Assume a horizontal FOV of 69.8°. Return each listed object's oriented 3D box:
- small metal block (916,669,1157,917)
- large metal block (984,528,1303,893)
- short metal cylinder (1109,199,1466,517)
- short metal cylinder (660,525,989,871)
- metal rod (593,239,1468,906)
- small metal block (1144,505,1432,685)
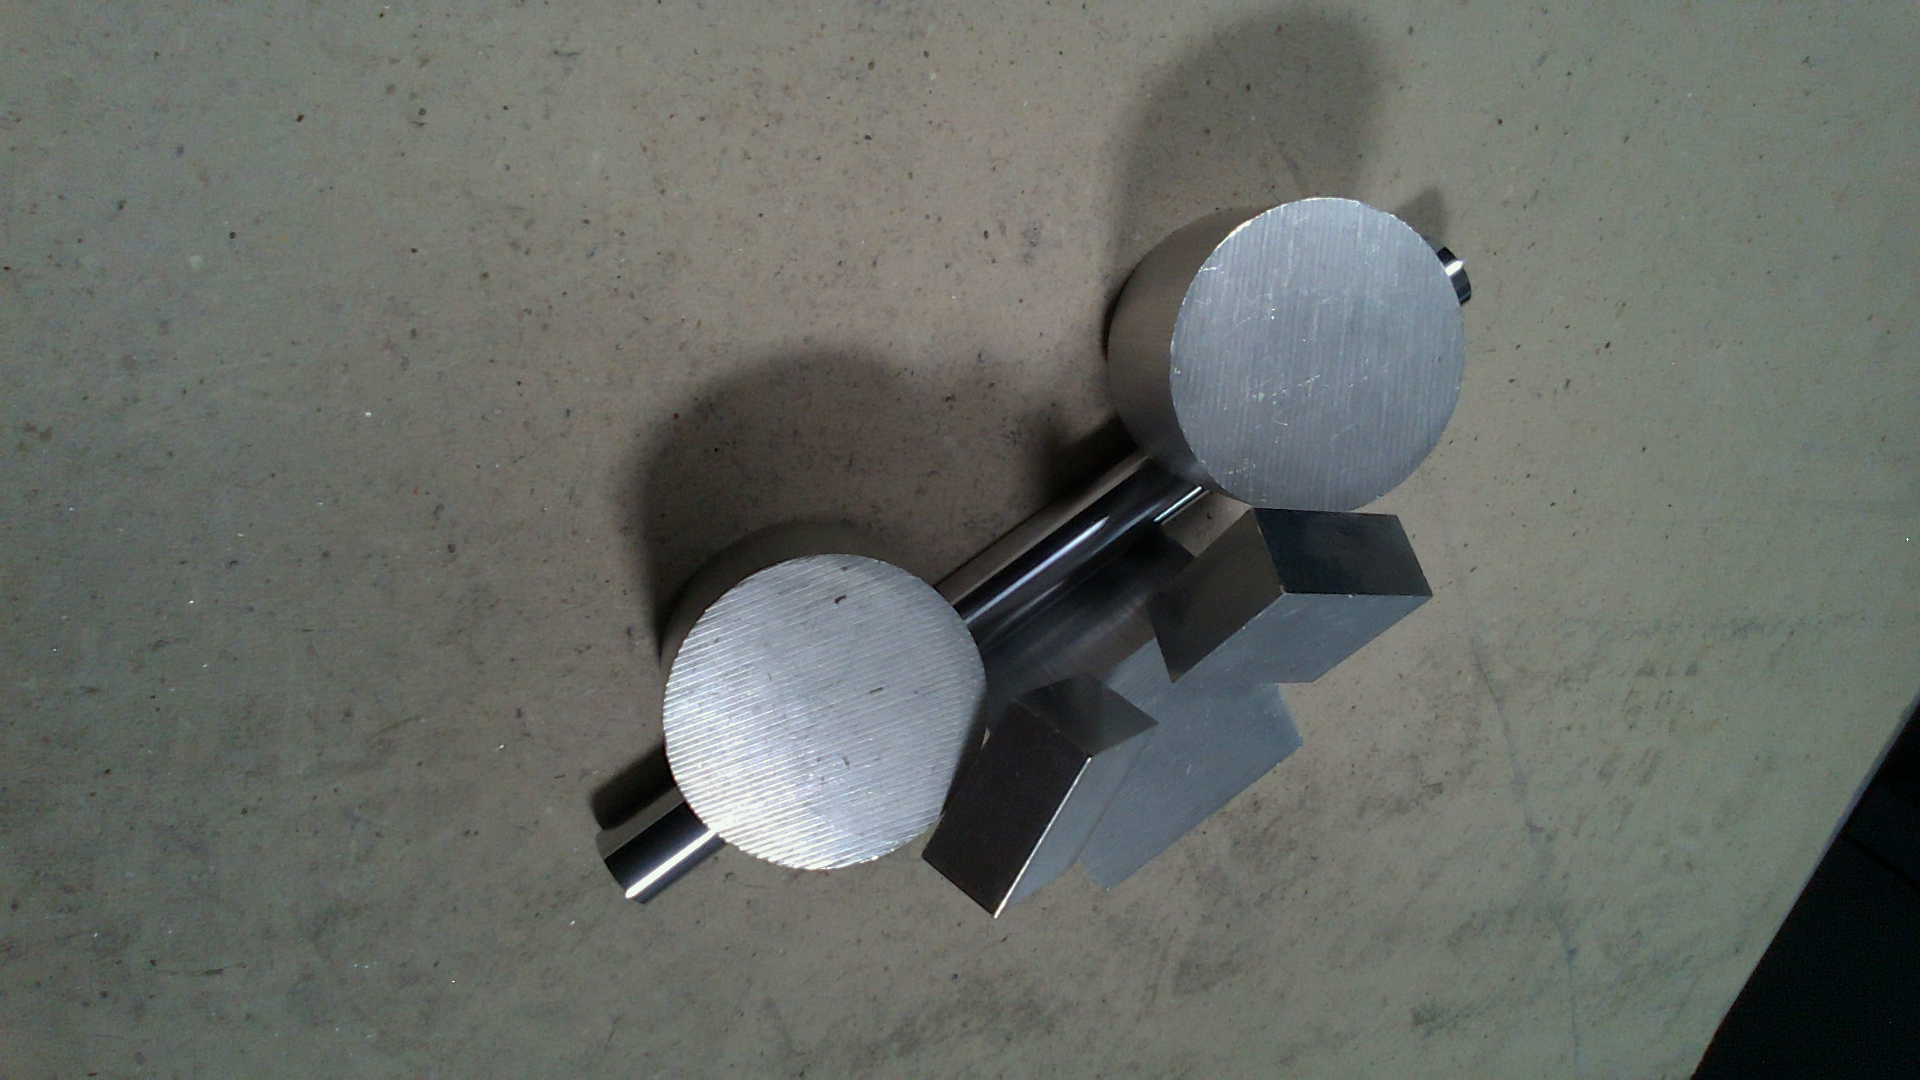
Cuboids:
[{"bbox_3d":[0.021,0.064,0.360,0.050,0.025,0.050,-61,158,16],"label":"small metal block"},{"bbox_3d":[0.050,0.049,0.428,0.080,0.050,0.080,-36,129,-4],"label":"large metal block"},{"bbox_3d":[0.086,-0.049,0.371,0.080,0.050,0.080,-2,100,-12],"label":"short metal cylinder"},{"bbox_3d":[-0.037,0.039,0.359,0.080,0.050,0.080,-2,100,-12],"label":"short metal cylinder"},{"bbox_3d":[0.024,0.007,0.406,0.300,0.025,0.025,-36,129,-5],"label":"metal rod"},{"bbox_3d":[0.086,0.016,0.365,0.050,0.025,0.050,2,148,-29],"label":"small metal block"}]
